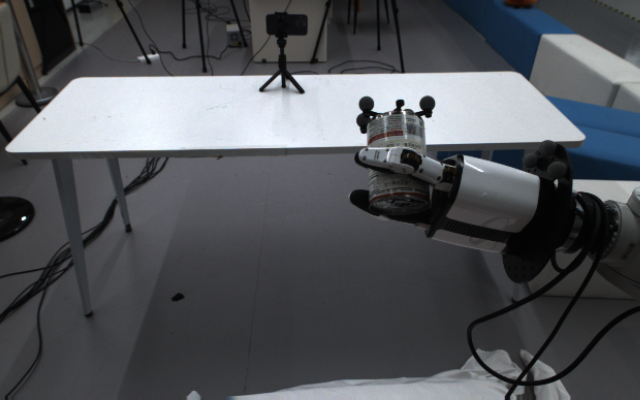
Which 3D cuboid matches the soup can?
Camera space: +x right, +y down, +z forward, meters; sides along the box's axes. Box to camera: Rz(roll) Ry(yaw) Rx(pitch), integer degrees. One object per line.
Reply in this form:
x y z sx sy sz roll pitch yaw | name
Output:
0.089 -0.040 0.544 0.067 0.067 0.101 1 73 -2 | soup can
